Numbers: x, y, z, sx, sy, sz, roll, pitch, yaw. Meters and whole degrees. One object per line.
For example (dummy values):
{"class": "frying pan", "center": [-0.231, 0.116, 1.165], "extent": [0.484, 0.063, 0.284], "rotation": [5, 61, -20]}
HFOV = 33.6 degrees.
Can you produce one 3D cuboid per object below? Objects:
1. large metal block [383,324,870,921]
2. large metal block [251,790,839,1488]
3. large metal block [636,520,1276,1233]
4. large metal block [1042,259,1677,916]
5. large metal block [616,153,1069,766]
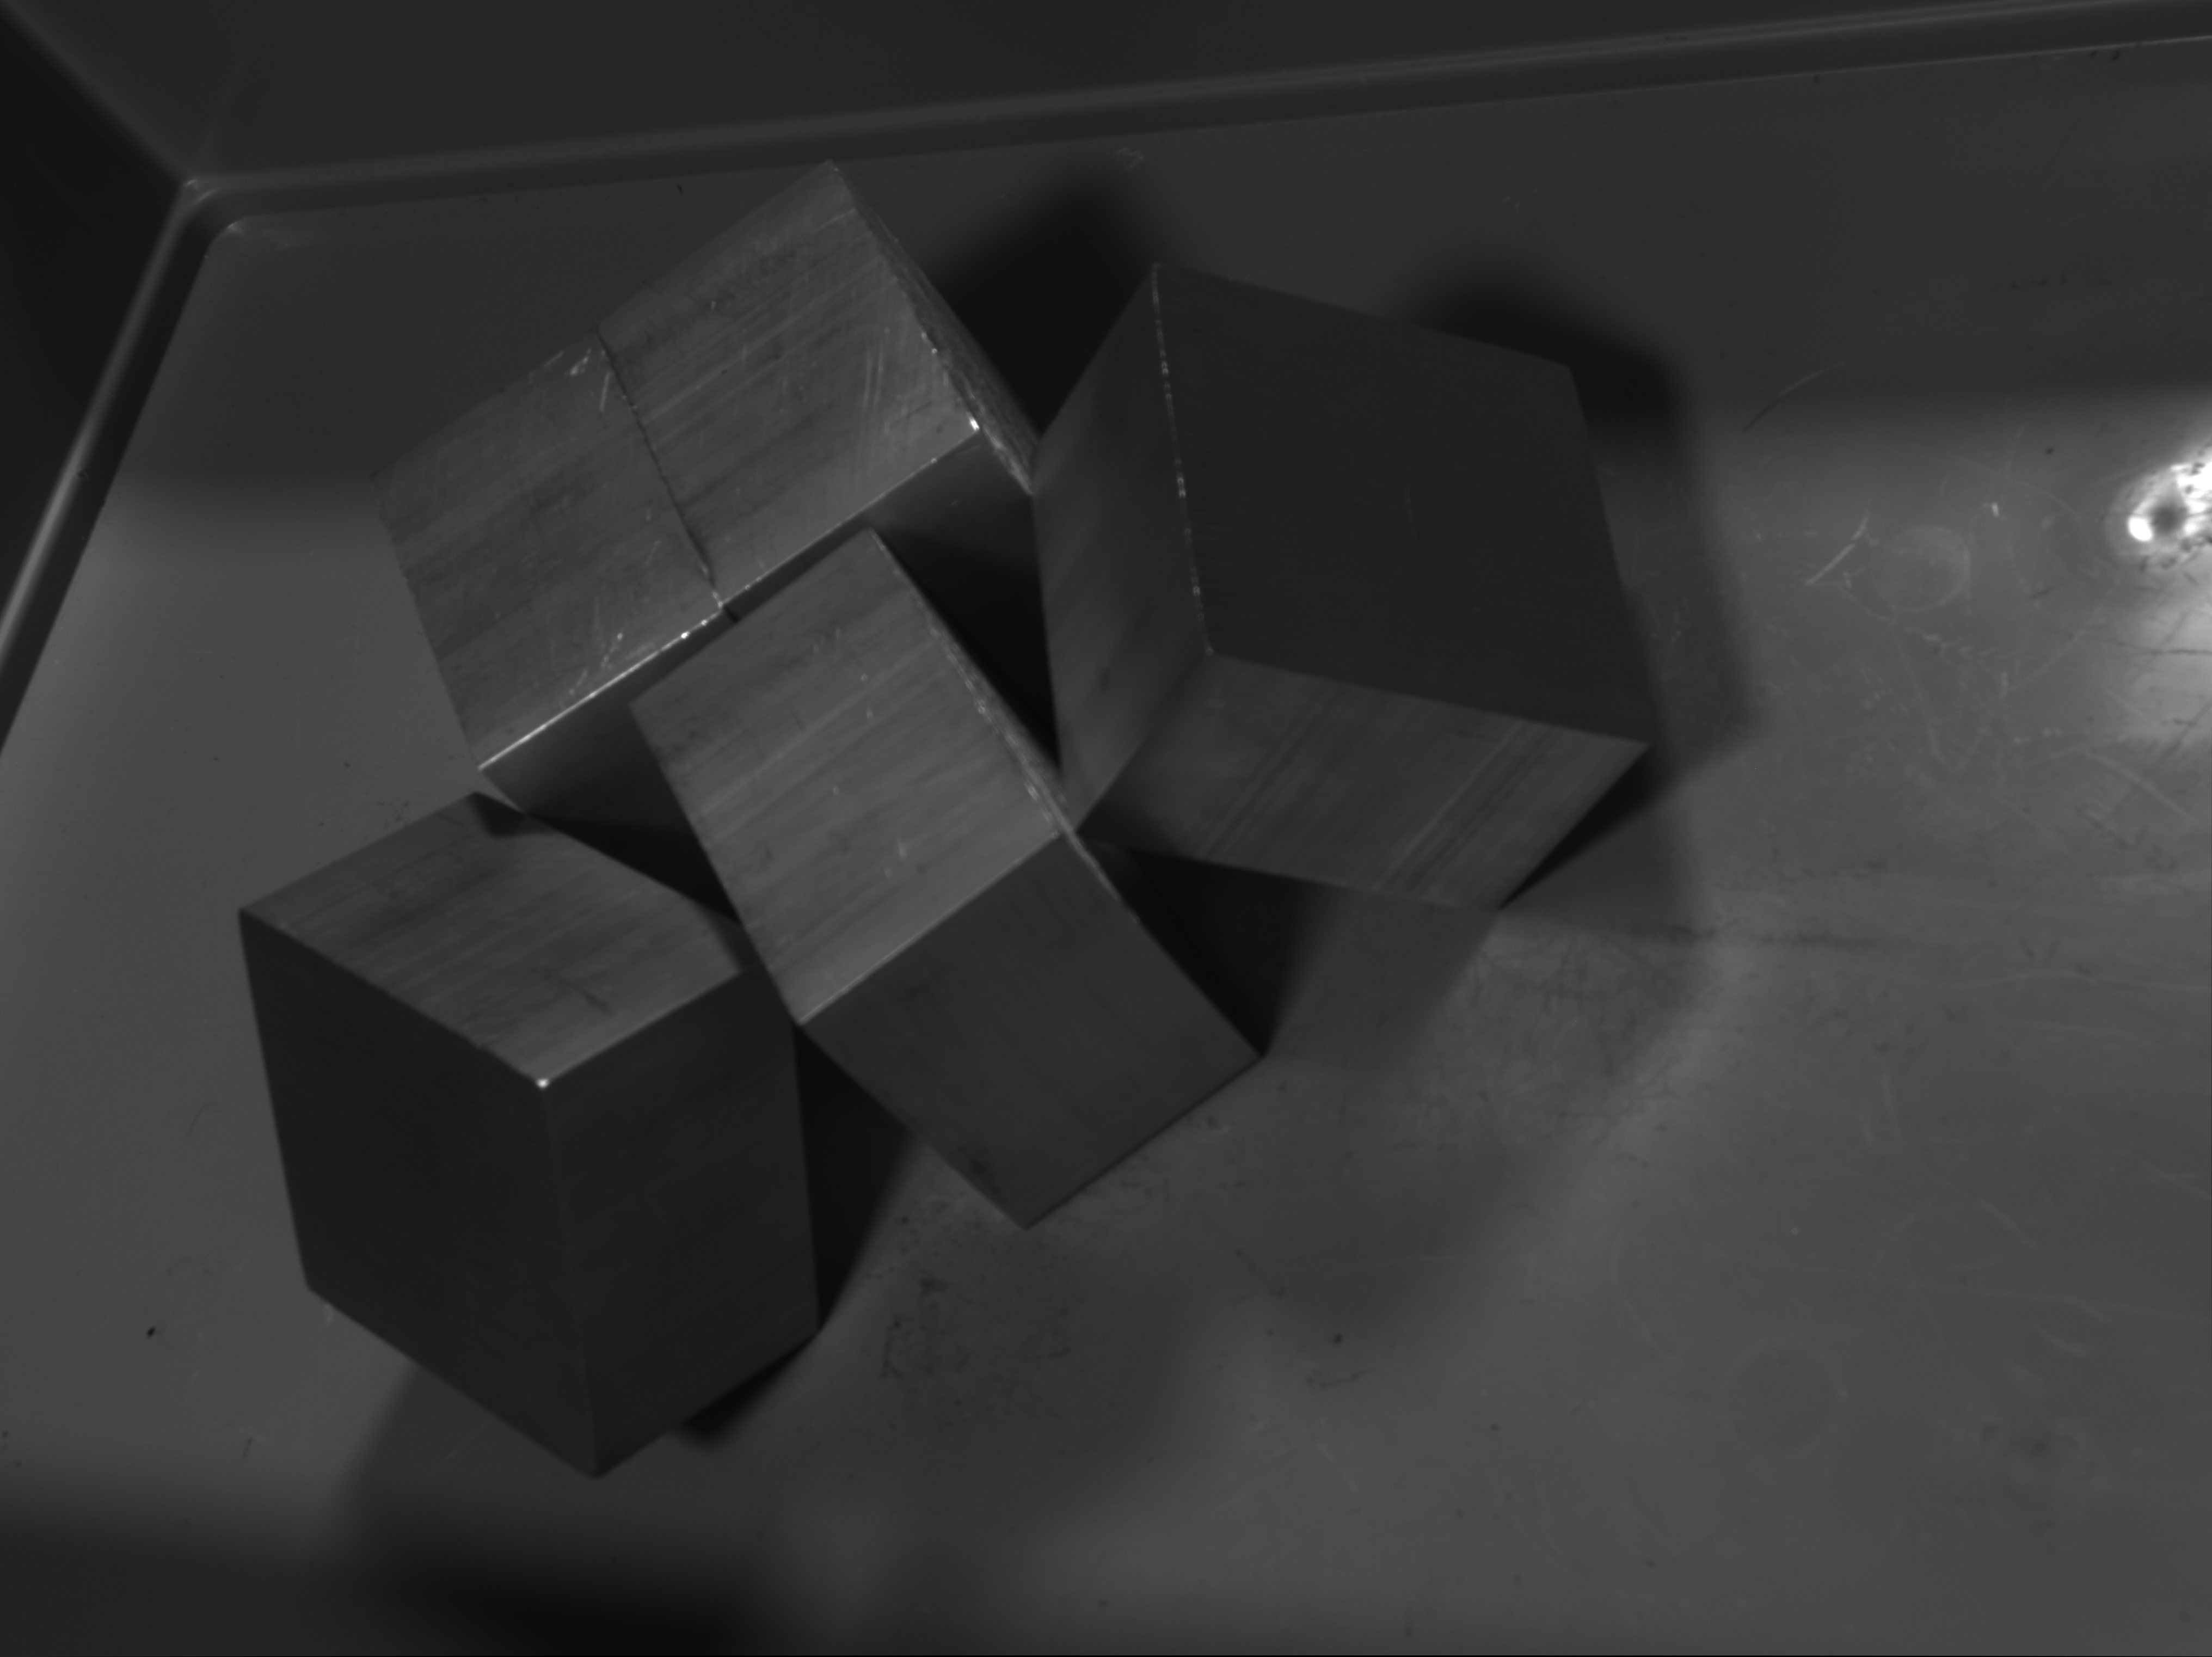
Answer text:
{"class": "large metal block", "center": [-0.080, -0.031, 0.670], "extent": [0.050, 0.080, 0.080], "rotation": [-33, 51, 7]}
{"class": "large metal block", "center": [-0.094, 0.051, 0.618], "extent": [0.080, 0.080, 0.050], "rotation": [24, 40, 37]}
{"class": "large metal block", "center": [-0.025, 0.009, 0.615], "extent": [0.050, 0.080, 0.080], "rotation": [-36, 51, 4]}
{"class": "large metal block", "center": [0.040, -0.039, 0.602], "extent": [0.050, 0.080, 0.080], "rotation": [128, 145, -46]}
{"class": "large metal block", "center": [-0.036, -0.061, 0.664], "extent": [0.050, 0.080, 0.080], "rotation": [-34, 51, 6]}
